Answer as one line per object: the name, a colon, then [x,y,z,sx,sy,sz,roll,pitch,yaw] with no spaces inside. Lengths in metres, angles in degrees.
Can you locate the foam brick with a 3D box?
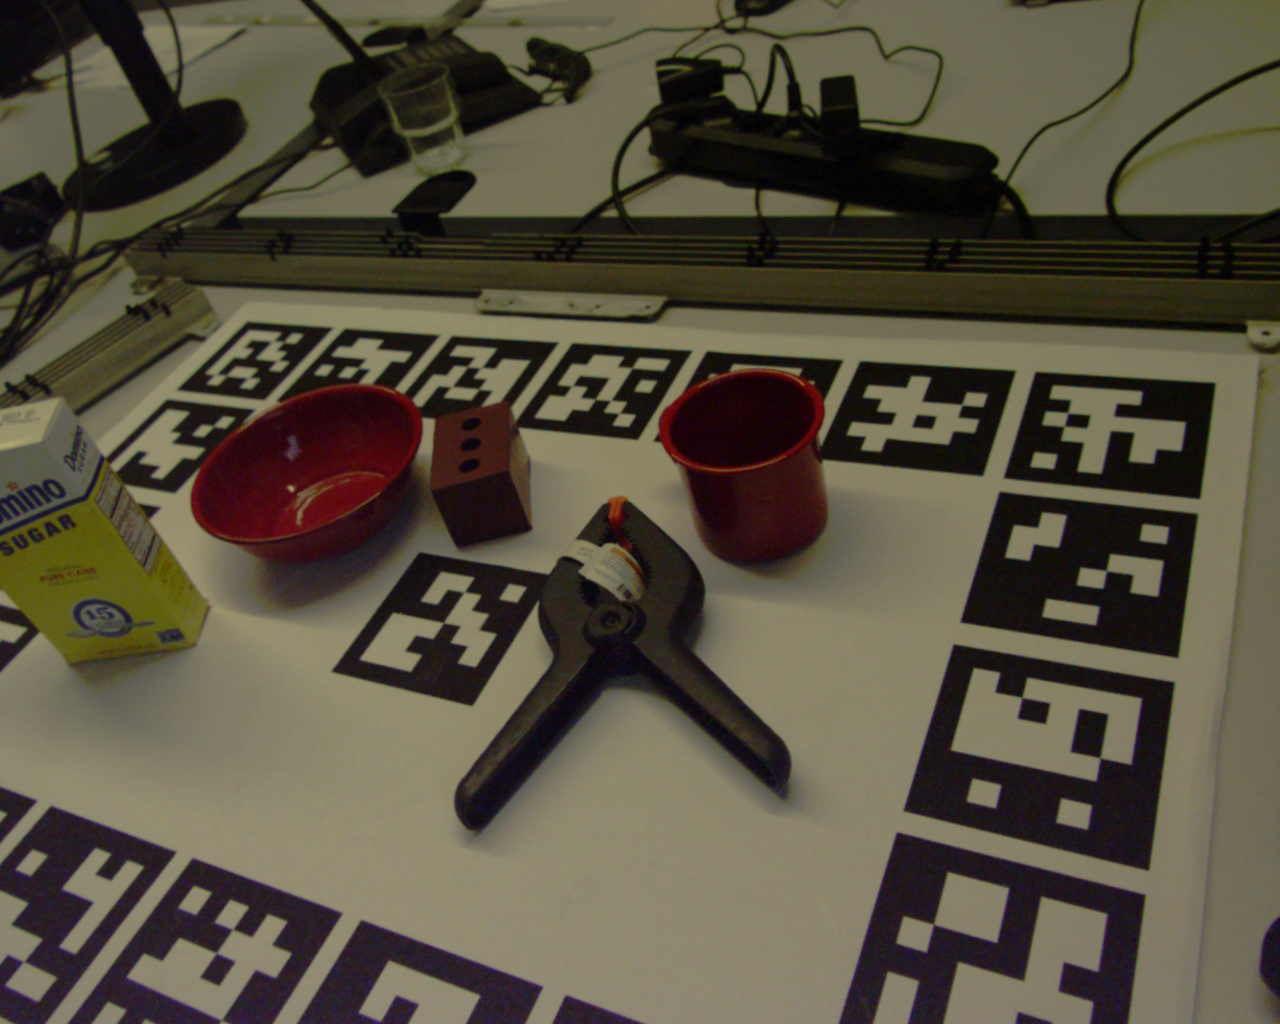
foam brick: [-0.103,-0.025,0.777,0.053,0.051,0.078,-14,44,6]

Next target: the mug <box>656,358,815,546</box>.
mug: [0.054,-0.039,0.703,0.093,0.081,0.119,-39,50,-21]

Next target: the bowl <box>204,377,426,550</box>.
bowl: [-0.221,-0.025,0.807,0.162,0.055,0.162,-10,44,8]

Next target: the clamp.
clamp: [-0.018,0.061,0.653,0.166,0.036,0.203,-12,44,10]

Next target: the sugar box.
sugar box: [-0.349,0.019,0.719,0.093,0.175,0.045,-10,45,6]
